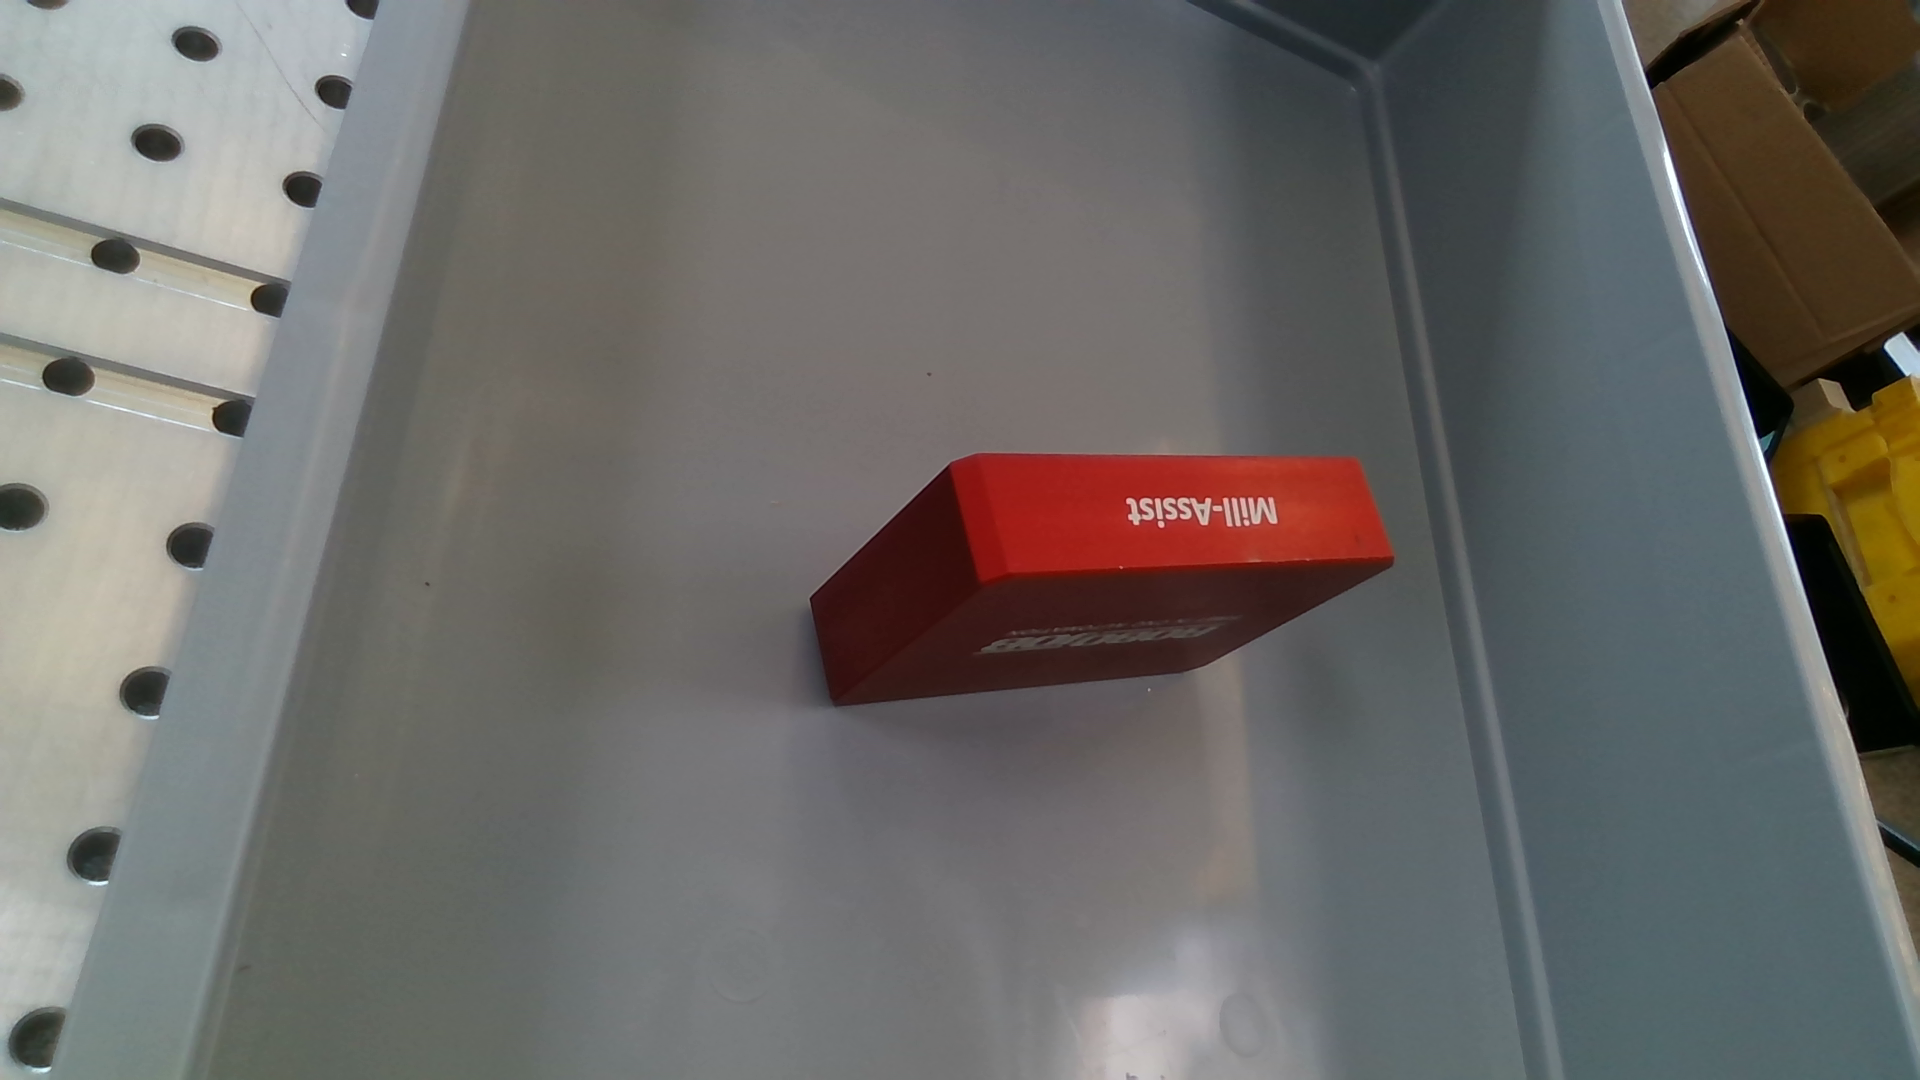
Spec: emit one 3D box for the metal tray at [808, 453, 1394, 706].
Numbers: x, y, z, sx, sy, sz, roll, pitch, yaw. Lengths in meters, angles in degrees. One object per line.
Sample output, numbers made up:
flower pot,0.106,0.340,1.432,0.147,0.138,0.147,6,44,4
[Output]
metal tray,0.037,0.011,0.365,0.130,0.090,0.030,-2,67,-32
